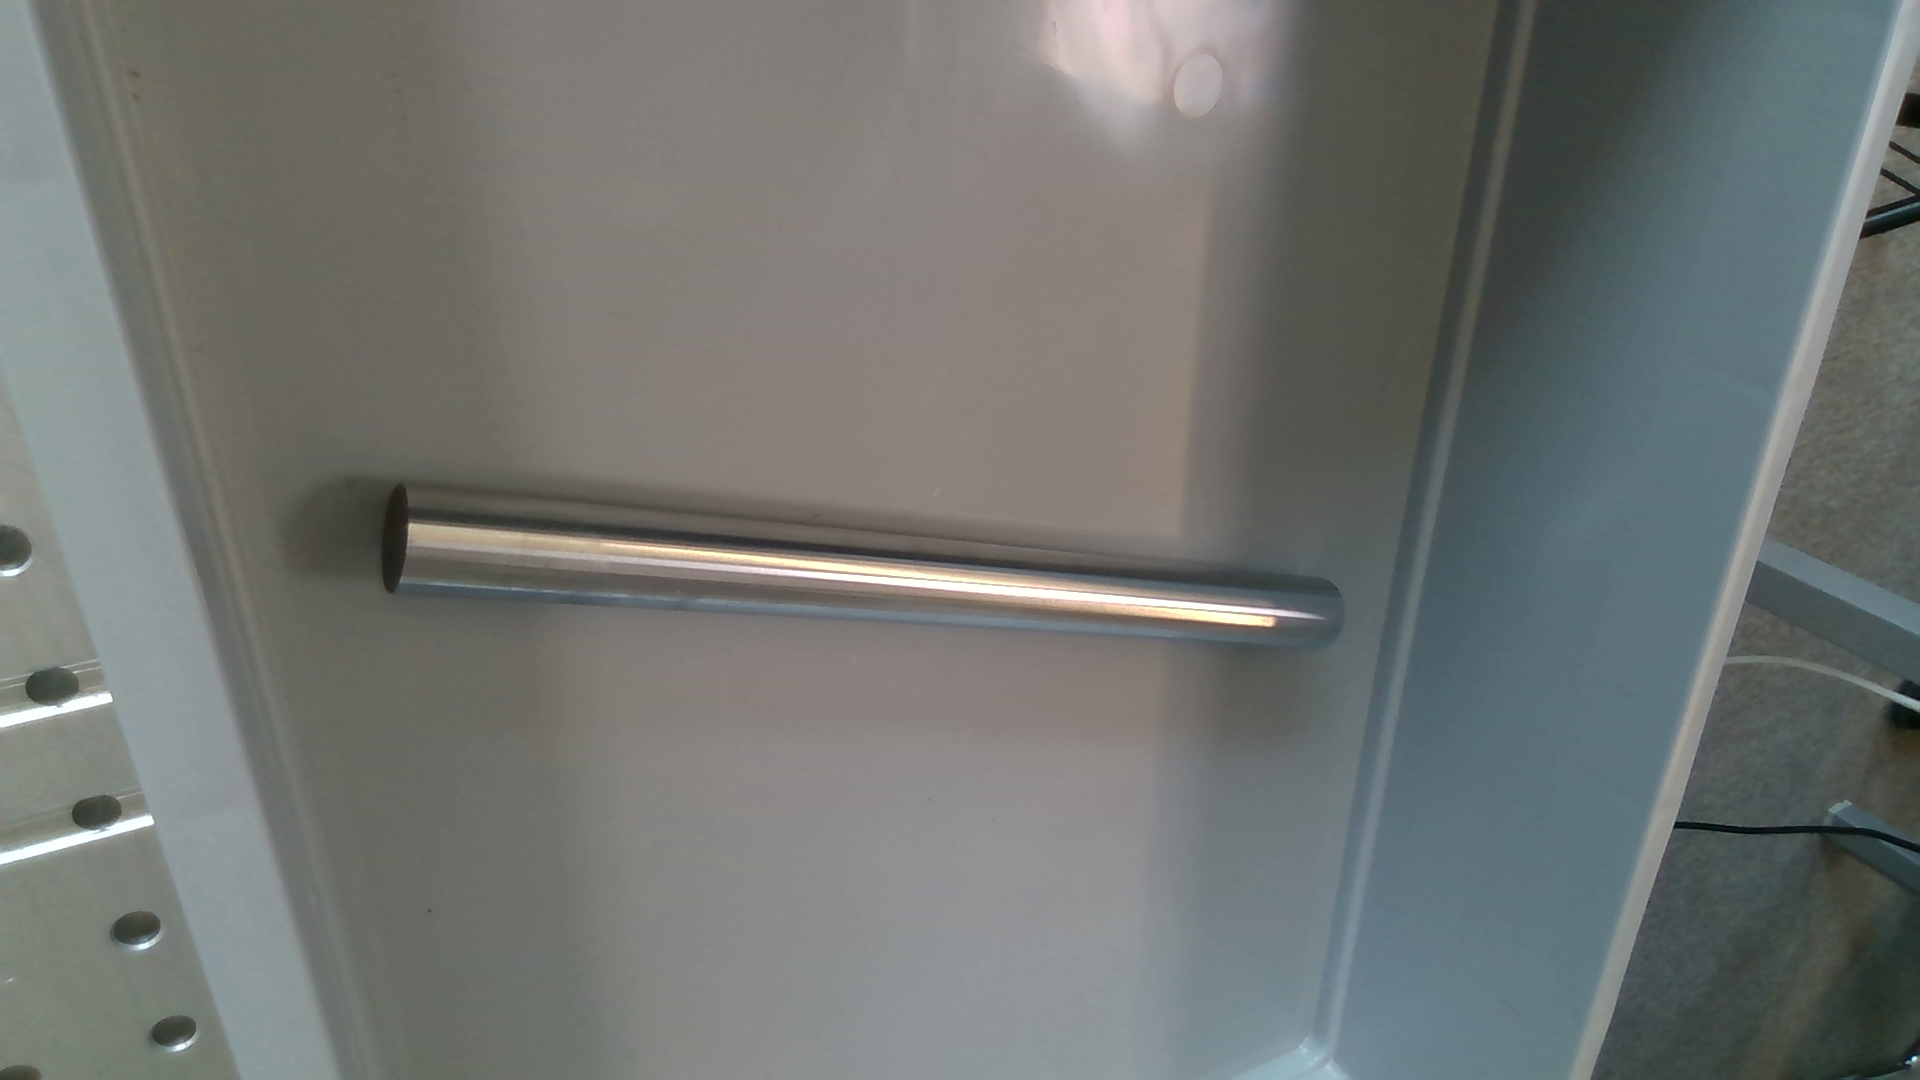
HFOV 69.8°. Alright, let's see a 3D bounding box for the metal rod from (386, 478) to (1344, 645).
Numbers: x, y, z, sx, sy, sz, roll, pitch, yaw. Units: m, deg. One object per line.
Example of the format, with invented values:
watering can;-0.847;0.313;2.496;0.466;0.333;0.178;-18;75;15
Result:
metal rod;-0.002;0.011;0.391;0.300;0.025;0.025;6;111;-34
